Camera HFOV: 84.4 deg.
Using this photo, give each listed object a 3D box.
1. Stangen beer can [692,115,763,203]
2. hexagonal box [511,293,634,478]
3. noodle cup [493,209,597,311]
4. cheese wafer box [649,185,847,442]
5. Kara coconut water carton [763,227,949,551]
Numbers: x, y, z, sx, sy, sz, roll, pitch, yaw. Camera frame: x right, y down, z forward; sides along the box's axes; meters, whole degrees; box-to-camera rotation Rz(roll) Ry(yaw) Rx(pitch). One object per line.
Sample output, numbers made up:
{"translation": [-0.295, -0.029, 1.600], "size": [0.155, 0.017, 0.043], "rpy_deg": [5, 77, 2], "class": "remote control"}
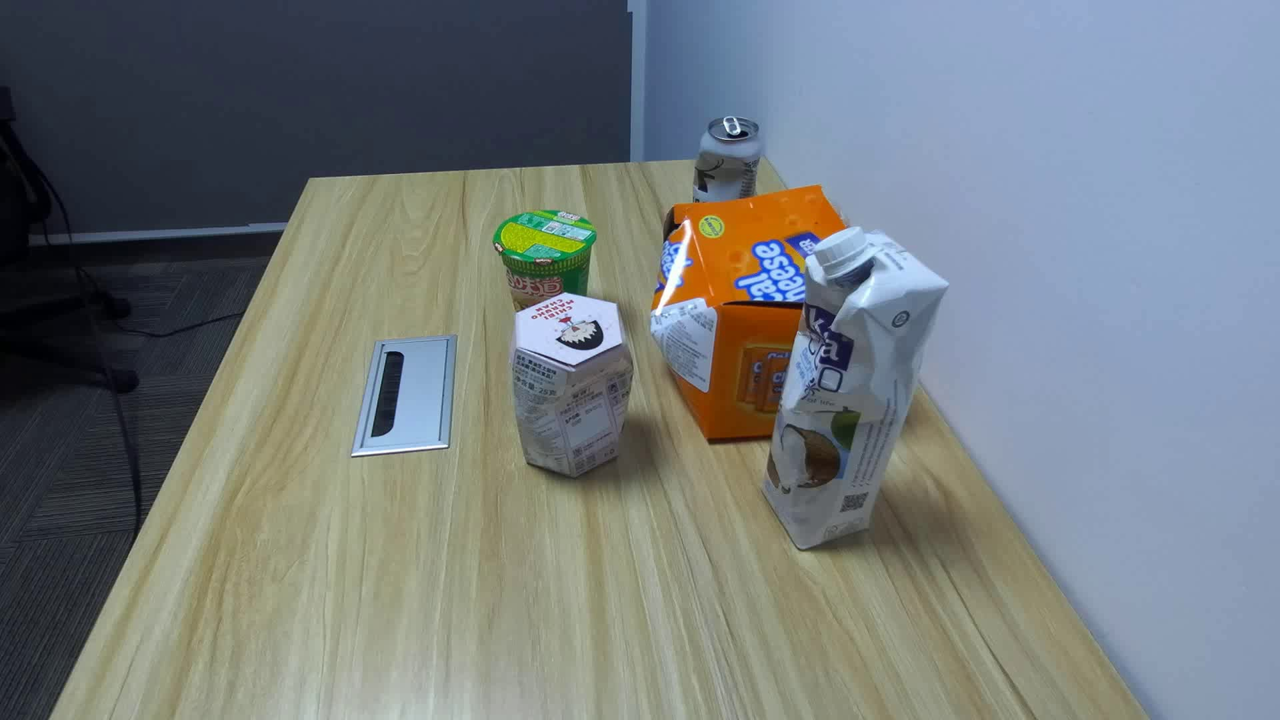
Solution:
{"translation": [0.095, -0.181, 0.787], "size": [0.070, 0.173, 0.070], "rpy_deg": [-6, 41, -8], "class": "Stangen beer can"}
{"translation": [-0.052, 0.023, 0.569], "size": [0.091, 0.134, 0.090], "rpy_deg": [3, 43, 1], "class": "hexagonal box"}
{"translation": [-0.093, -0.076, 0.708], "size": [0.097, 0.110, 0.097], "rpy_deg": [1, 38, -1], "class": "noodle cup"}
{"translation": [0.106, -0.053, 0.658], "size": [0.191, 0.145, 0.218], "rpy_deg": [-4, 40, -7], "class": "cheese wafer box"}
{"translation": [0.137, 0.019, 0.482], "size": [0.078, 0.256, 0.083], "rpy_deg": [-6, 41, -6], "class": "Kara coconut water carton"}
